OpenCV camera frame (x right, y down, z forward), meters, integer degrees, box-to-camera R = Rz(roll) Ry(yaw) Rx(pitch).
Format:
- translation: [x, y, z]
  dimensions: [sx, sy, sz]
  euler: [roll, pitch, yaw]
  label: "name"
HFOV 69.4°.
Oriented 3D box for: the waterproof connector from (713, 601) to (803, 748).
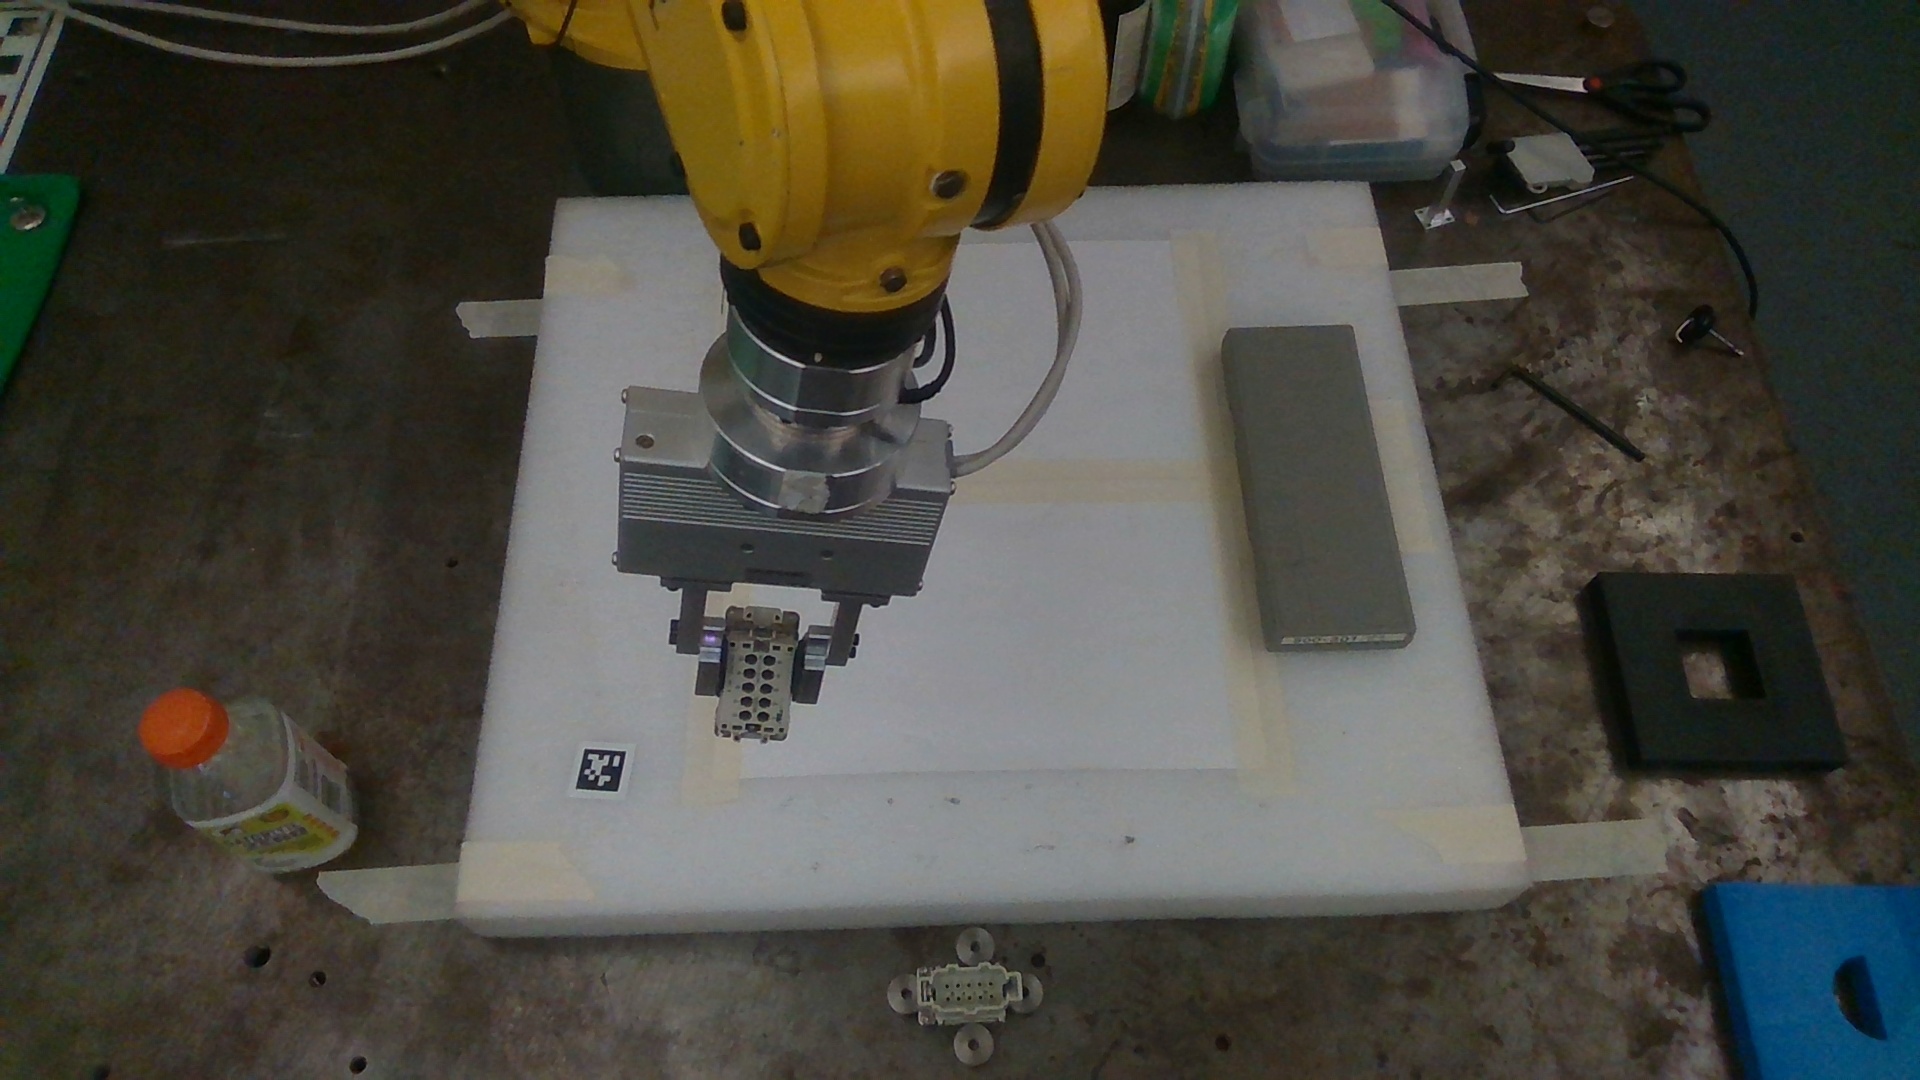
- translation: [-0.095, 0.063, 0.649]
  dimensions: [0.036, 0.039, 0.069]
  euler: [5, 101, -11]
  label: "waterproof connector"
